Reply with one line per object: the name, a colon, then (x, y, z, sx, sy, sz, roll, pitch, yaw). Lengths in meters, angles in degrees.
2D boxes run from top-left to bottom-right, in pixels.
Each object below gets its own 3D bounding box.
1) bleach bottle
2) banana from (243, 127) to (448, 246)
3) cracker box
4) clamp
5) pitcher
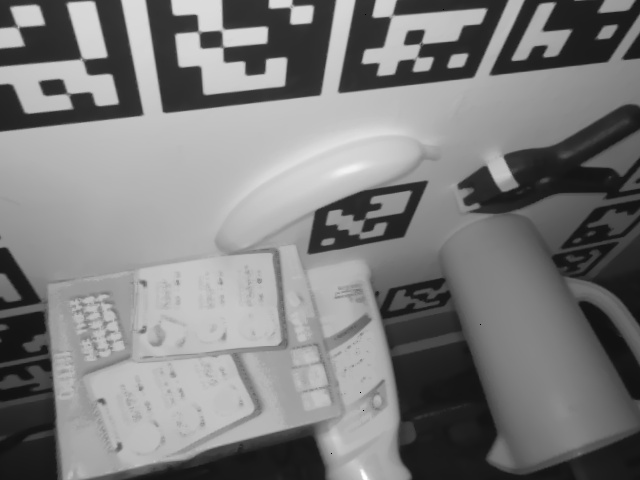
bleach bottle: (0.062, 0.145, 0.694, 0.103, 0.251, 0.067, -9, 149, -13)
banana: (0.009, -0.048, 0.581, 0.195, 0.039, 0.075, -28, 148, 16)
cracker box: (-0.088, 0.106, 0.611, 0.216, 0.164, 0.071, -10, 151, -15)
clamp: (0.222, -0.063, 0.648, 0.165, 0.037, 0.121, -17, 150, 2)
pitcher: (0.252, 0.109, 0.694, 0.188, 0.243, 0.133, -17, 149, 5)
